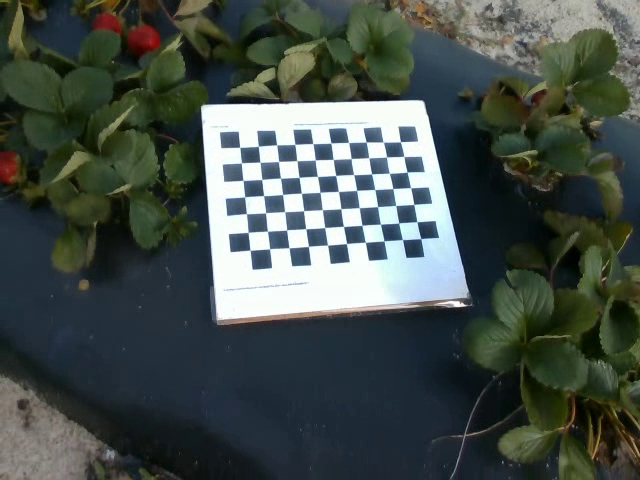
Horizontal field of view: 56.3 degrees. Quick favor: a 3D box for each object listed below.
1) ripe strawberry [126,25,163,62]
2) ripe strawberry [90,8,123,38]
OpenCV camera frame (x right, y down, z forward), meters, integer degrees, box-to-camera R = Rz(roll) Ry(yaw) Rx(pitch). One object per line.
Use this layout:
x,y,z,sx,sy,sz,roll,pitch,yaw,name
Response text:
-0.267,-0.303,0.902,0.057,0.051,0.064,-22,38,-20,ripe strawberry
-0.328,-0.319,0.906,0.048,0.041,0.056,10,40,-5,ripe strawberry
